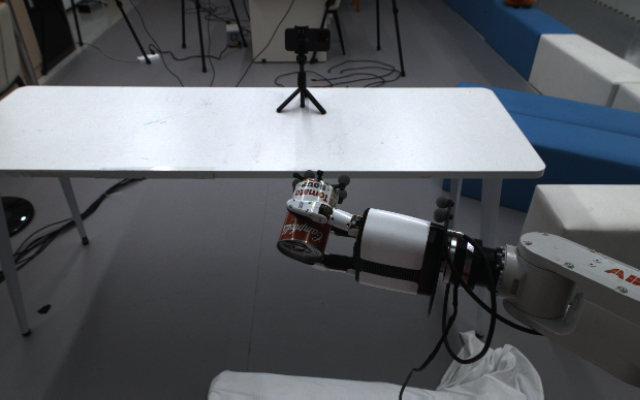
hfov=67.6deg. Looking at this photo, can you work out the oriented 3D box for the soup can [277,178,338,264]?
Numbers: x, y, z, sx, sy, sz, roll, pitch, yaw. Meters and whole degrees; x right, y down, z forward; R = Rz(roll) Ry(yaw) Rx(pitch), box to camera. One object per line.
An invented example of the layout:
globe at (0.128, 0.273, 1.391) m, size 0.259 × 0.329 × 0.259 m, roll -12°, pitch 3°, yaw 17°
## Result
soup can at (-0.014, 0.028, 0.689) m, size 0.067 × 0.067 × 0.101 m, roll 9°, pitch 60°, yaw 10°
